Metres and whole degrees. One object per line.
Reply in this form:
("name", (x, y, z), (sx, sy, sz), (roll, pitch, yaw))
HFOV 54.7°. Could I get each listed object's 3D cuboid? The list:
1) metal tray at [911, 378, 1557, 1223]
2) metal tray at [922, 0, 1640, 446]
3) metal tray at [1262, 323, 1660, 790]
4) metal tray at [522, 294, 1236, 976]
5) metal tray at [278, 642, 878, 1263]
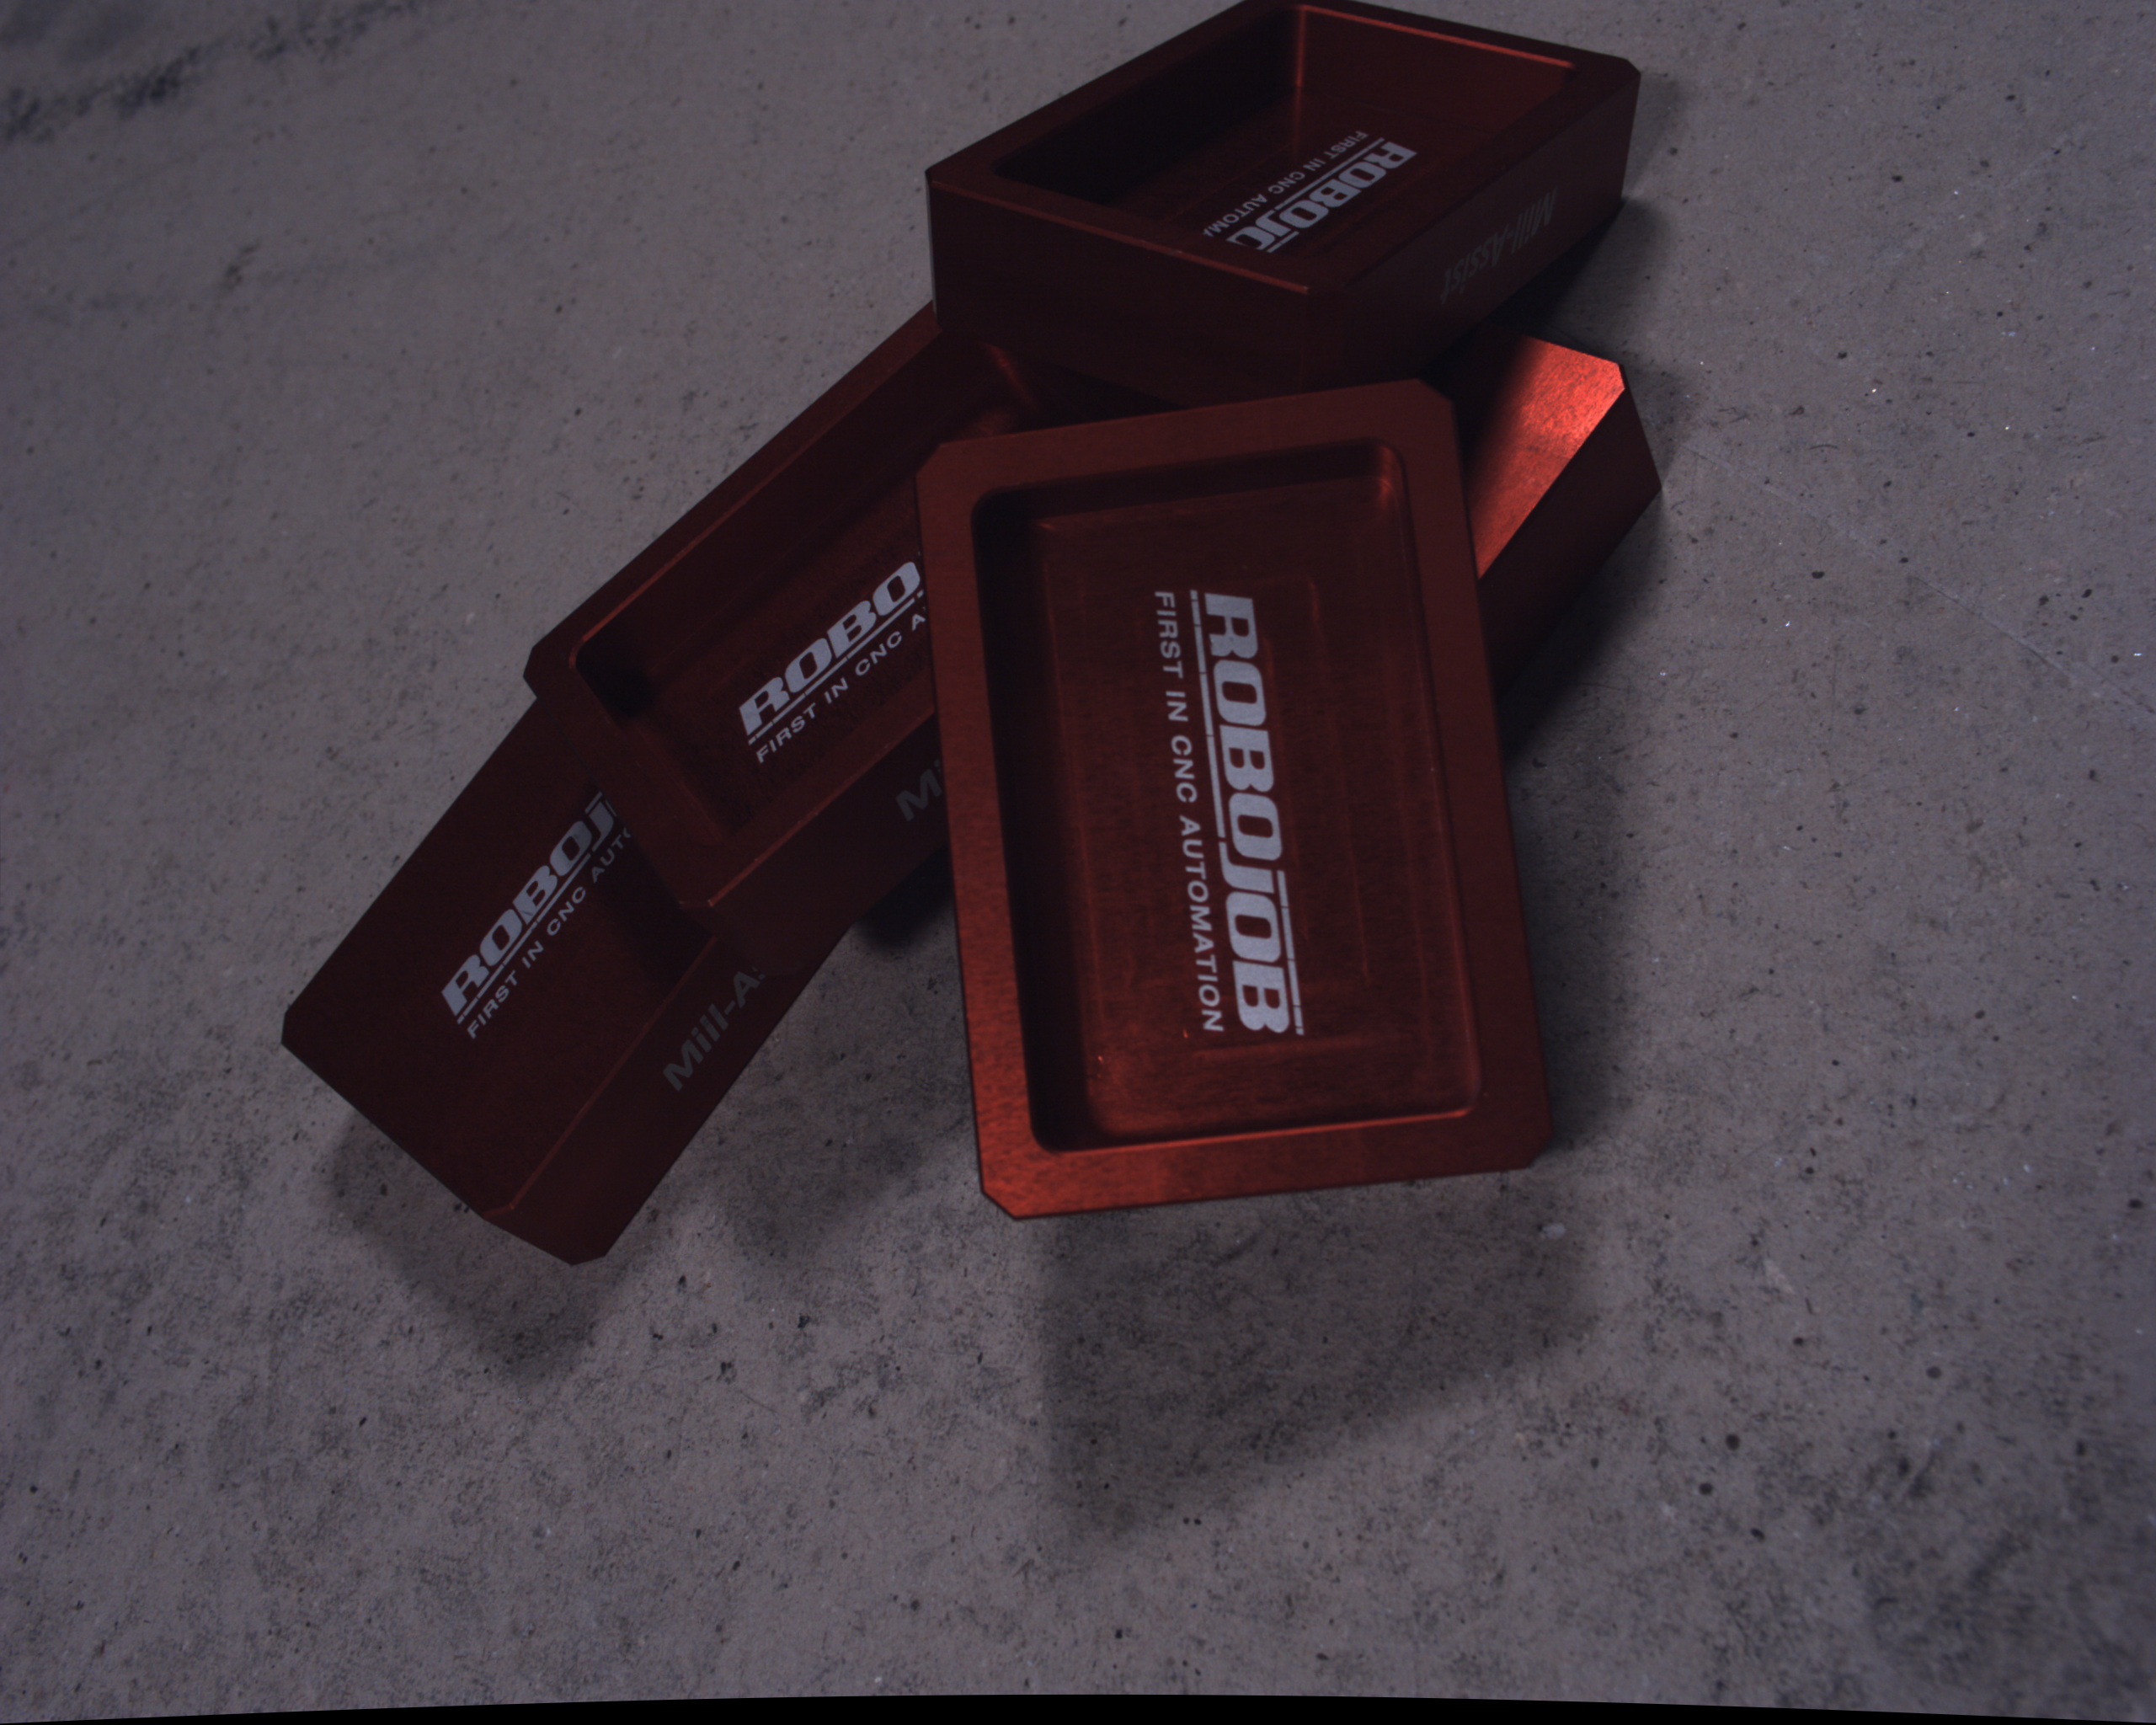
("metal tray", (0.025, -0.009, 0.350), (0.090, 0.030, 0.129), (-7, 82, 5))
("metal tray", (0.043, -0.134, 0.417), (0.090, 0.030, 0.131), (25, 47, 26))
("metal tray", (0.038, -0.075, 0.427), (0.130, 0.030, 0.090), (30, 78, 37))
("metal tray", (-0.038, -0.051, 0.413), (0.130, 0.030, 0.090), (-41, 51, -1))
("metal tray", (-0.100, 0.008, 0.447), (0.090, 0.030, 0.130), (27, 76, 37))
